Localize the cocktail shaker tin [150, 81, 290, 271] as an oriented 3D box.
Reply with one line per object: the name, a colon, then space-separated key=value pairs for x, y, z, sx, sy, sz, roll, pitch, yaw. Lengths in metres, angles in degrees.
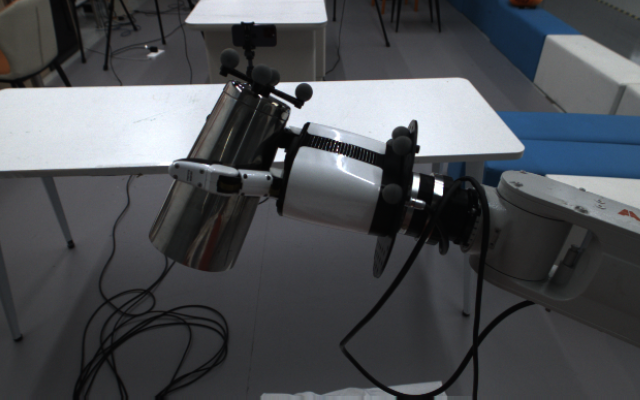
cocktail shaker tin: x=-0.090 y=-0.026 z=0.477 sx=0.093 sy=0.170 sz=0.093 roll=24 pitch=12 yaw=-5
